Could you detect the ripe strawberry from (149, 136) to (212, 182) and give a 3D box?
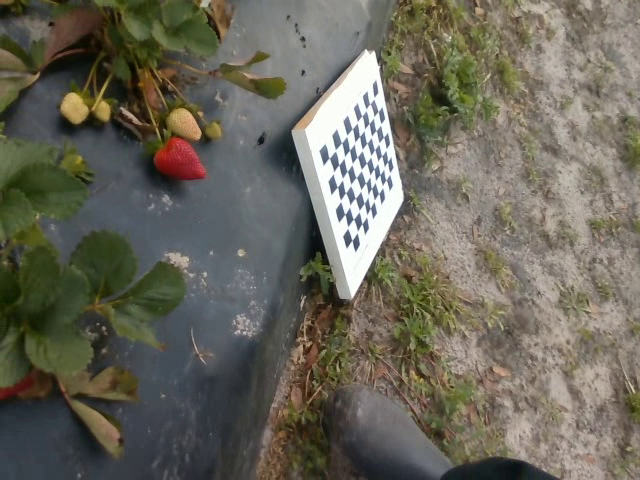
[{"bbox_3d":[-0.143,-0.084,0.642,0.059,0.050,0.034,30,-37,-5],"label":"ripe strawberry"}]
